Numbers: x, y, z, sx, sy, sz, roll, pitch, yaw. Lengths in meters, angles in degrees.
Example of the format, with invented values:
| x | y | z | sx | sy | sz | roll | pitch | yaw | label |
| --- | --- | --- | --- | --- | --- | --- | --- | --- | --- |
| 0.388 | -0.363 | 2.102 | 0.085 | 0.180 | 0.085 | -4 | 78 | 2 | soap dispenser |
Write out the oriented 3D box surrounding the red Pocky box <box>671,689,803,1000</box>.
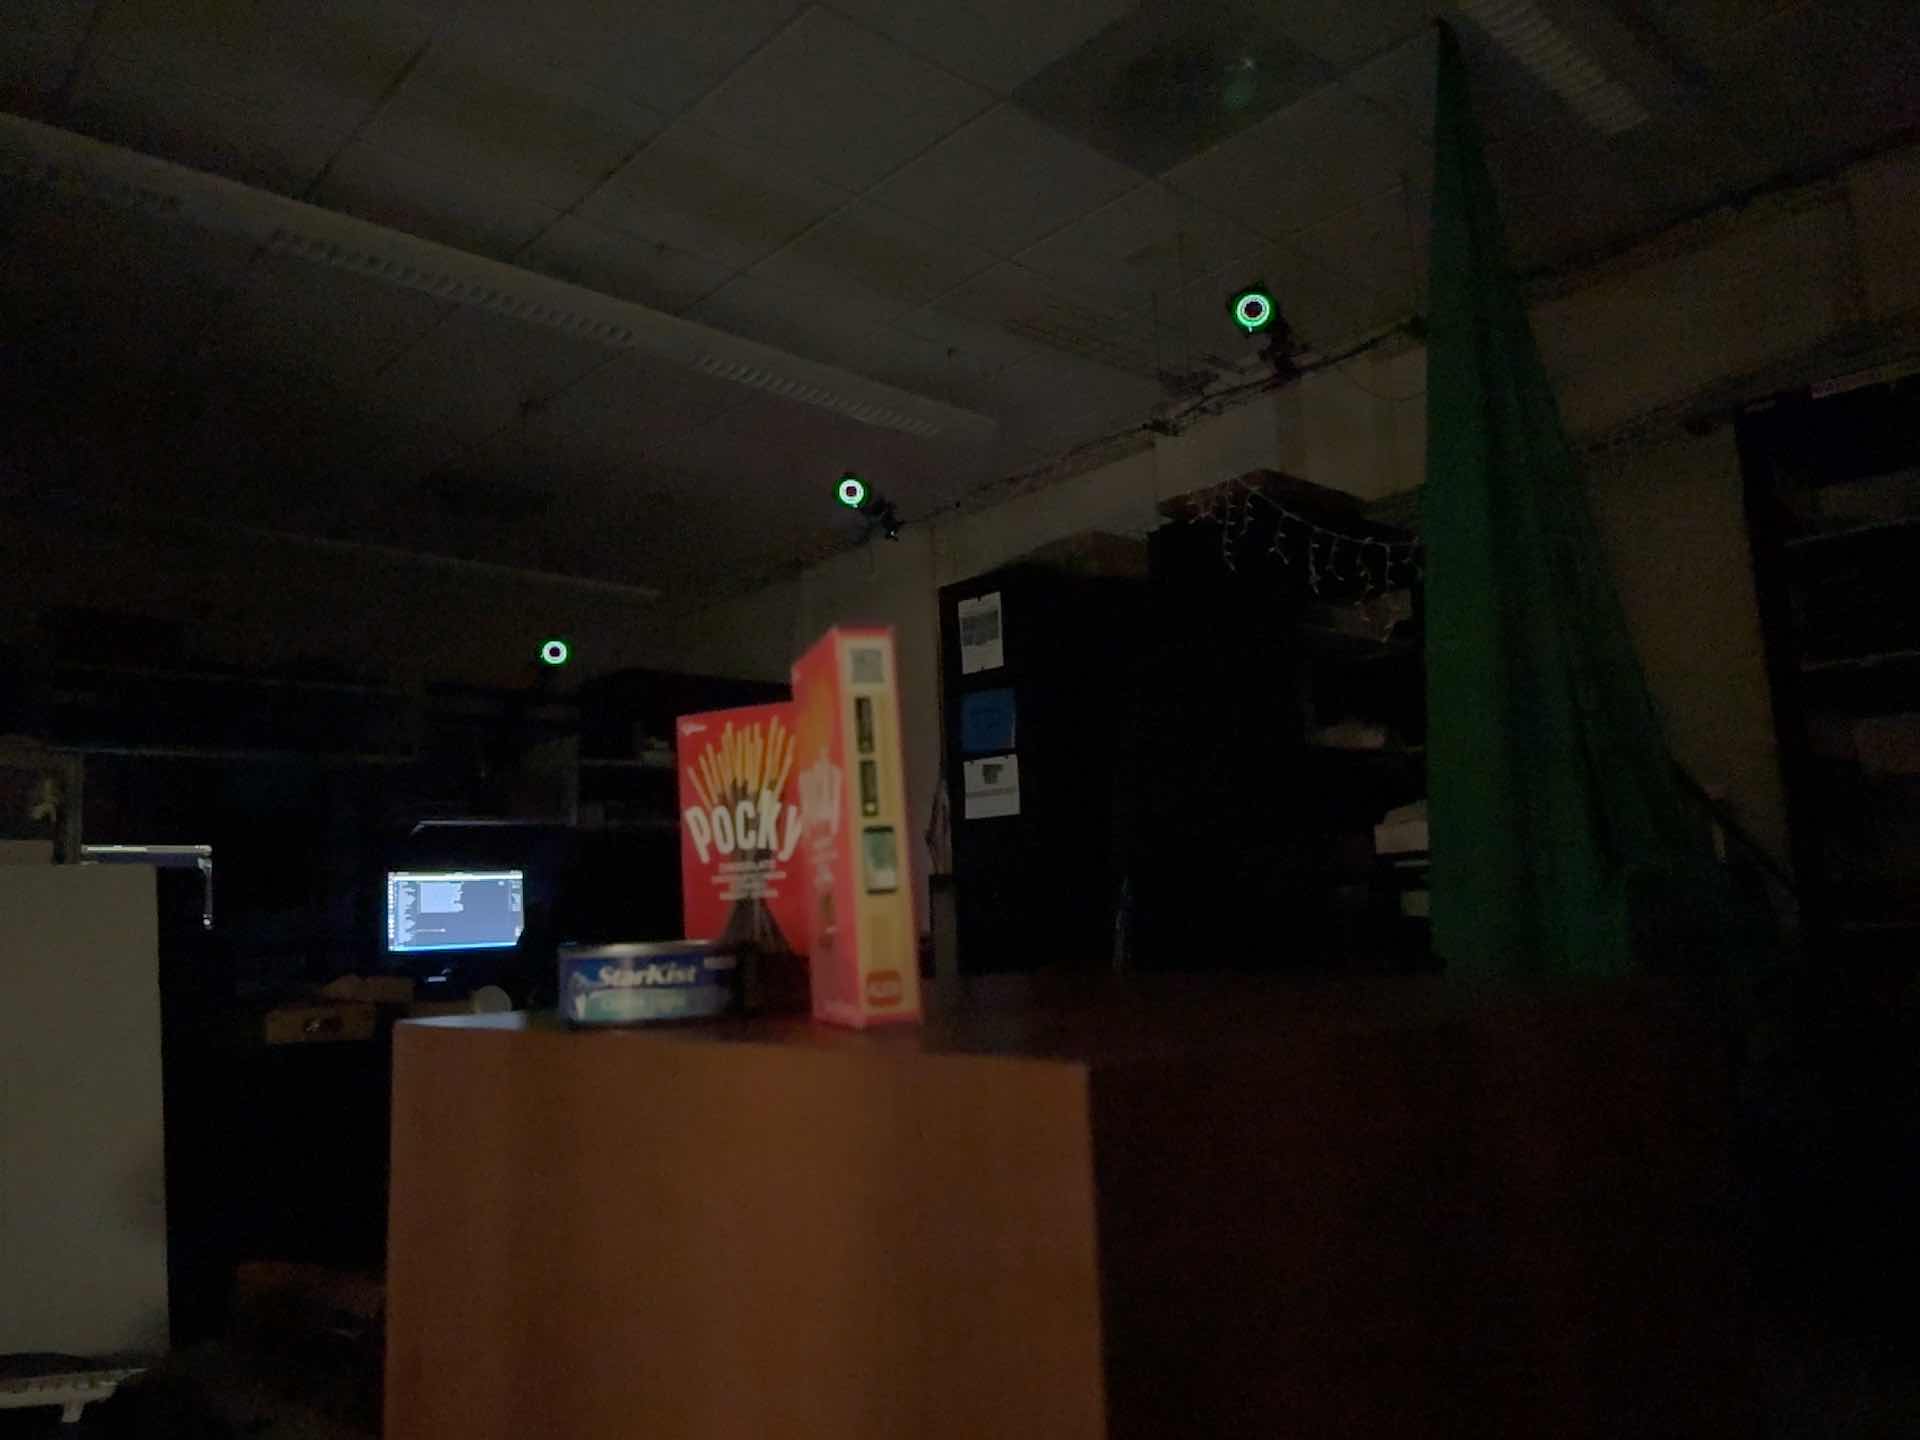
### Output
| x | y | z | sx | sy | sz | roll | pitch | yaw | label |
| --- | --- | --- | --- | --- | --- | --- | --- | --- | --- |
| -0.107 | 0.063 | 0.684 | 0.083 | 0.155 | 0.028 | -6 | -6 | 31 | red Pocky box |

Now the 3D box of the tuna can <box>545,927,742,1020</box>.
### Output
| x | y | z | sx | sy | sz | roll | pitch | yaw | label |
| --- | --- | --- | --- | --- | --- | --- | --- | --- | --- |
| -0.140 | 0.111 | 0.597 | 0.083 | 0.034 | 0.083 | -3 | -6 | 0 | tuna can |

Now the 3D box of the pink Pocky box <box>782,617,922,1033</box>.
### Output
| x | y | z | sx | sy | sz | roll | pitch | yaw | label |
| --- | --- | --- | --- | --- | --- | --- | --- | --- | --- |
| -0.045 | 0.043 | 0.536 | 0.029 | 0.155 | 0.084 | -2 | -7 | -20 | pink Pocky box |
